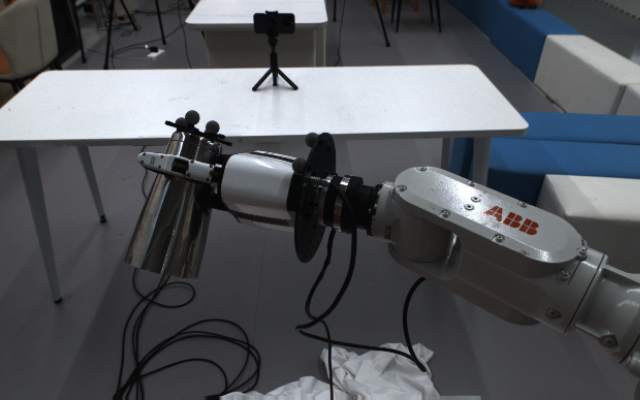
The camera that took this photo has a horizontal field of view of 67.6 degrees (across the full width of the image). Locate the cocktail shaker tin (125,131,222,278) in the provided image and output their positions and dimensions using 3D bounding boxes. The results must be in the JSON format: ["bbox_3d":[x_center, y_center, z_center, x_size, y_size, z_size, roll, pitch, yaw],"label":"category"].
[{"bbox_3d":[-0.178,0.006,0.615,0.093,0.170,0.093,14,-5,1],"label":"cocktail shaker tin"}]
